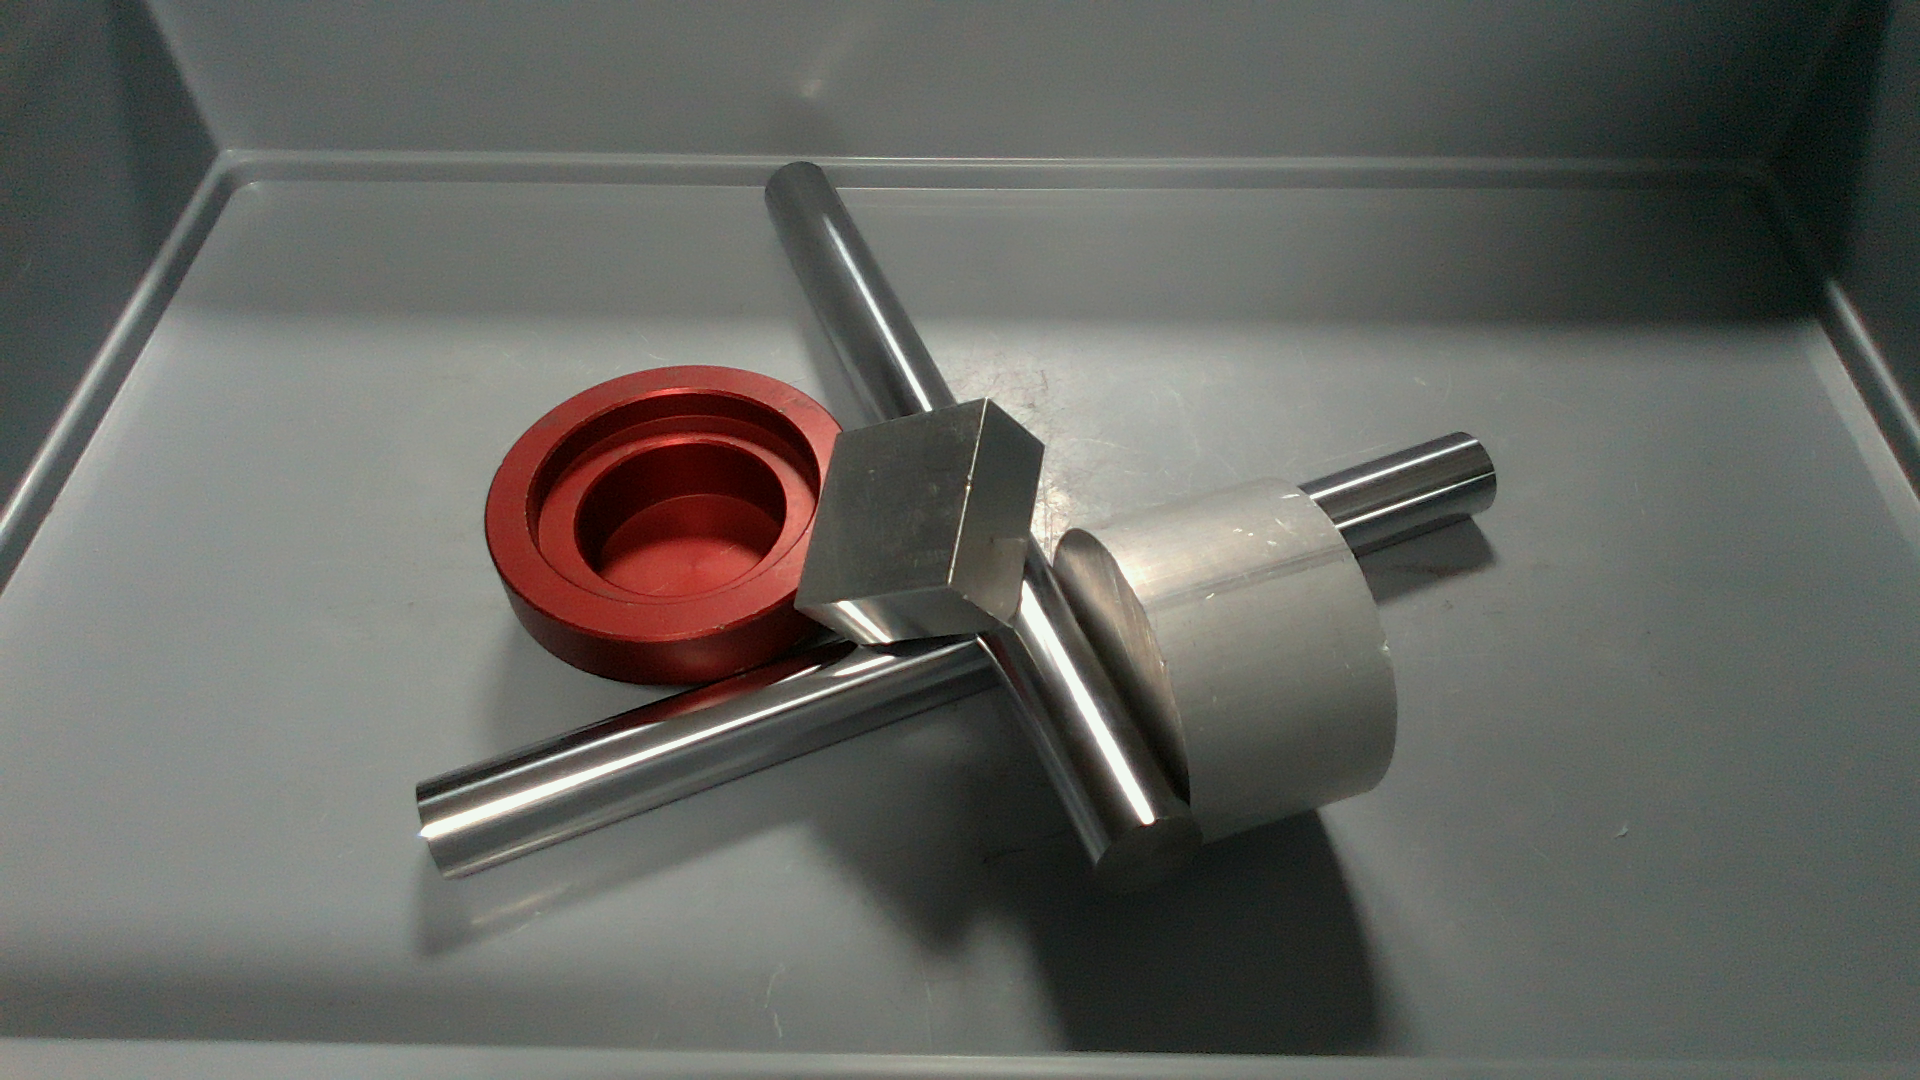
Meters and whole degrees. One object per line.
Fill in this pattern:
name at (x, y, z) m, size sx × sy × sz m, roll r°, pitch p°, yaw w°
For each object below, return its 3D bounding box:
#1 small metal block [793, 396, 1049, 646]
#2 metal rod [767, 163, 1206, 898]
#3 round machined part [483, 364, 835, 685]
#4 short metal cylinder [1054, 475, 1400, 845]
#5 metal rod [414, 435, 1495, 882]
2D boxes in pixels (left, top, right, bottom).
small metal block at (-0.009, -0.004, 0.340) m, size 0.050 × 0.025 × 0.050 m, roll -8°, pitch 59°, yaw 38°
metal rod at (-0.009, -0.029, 0.391) m, size 0.025 × 0.025 × 0.299 m, roll -15°, pitch 44°, yaw -12°
round machined part at (-0.076, 0.000, 0.380) m, size 0.098 × 0.042 × 0.098 m, roll 0°, pitch 50°, yaw 0°
short metal cylinder at (0.060, 0.029, 0.330) m, size 0.050 × 0.080 × 0.080 m, roll -15°, pitch 52°, yaw -12°
metal rod at (0.011, 0.026, 0.369) m, size 0.301 × 0.025 × 0.025 m, roll -18°, pitch 52°, yaw -15°
